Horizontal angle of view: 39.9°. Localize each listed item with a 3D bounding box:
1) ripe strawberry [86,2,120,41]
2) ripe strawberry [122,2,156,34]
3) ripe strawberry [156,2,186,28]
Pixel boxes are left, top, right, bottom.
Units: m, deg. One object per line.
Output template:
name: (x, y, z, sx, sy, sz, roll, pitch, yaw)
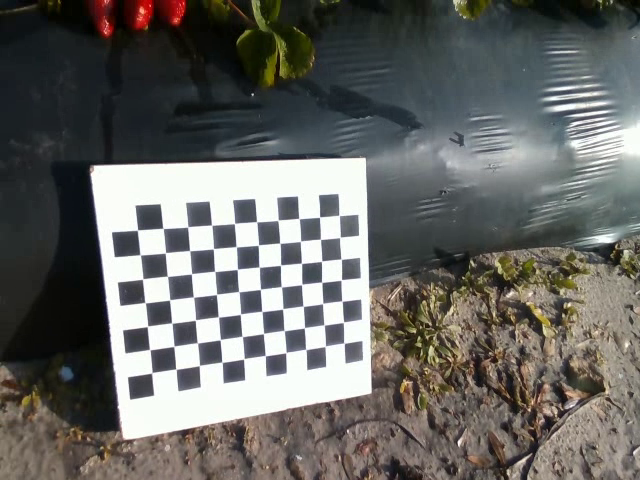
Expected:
ripe strawberry: (-0.172, -0.196, 0.741, 0.031, 0.046, 0.023, -6, -6, -26)
ripe strawberry: (-0.143, -0.199, 0.748, 0.030, 0.037, 0.039, 5, 29, -27)
ripe strawberry: (-0.120, -0.202, 0.764, 0.035, 0.034, 0.041, -11, 50, -26)
